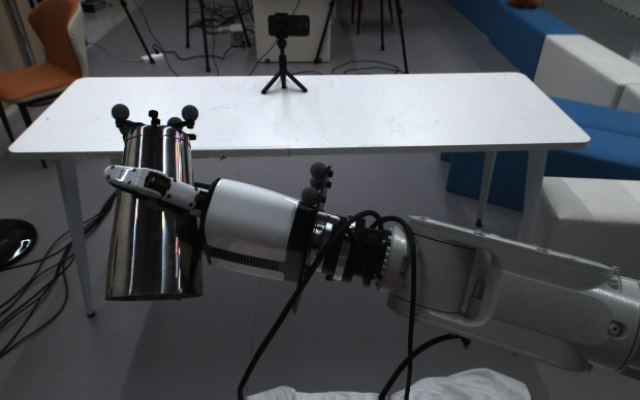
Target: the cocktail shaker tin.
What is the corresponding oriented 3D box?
[{"bbox_3d":[-0.167,0.016,0.497,0.093,0.093,0.170,-3,76,-7],"label":"cocktail shaker tin"}]
